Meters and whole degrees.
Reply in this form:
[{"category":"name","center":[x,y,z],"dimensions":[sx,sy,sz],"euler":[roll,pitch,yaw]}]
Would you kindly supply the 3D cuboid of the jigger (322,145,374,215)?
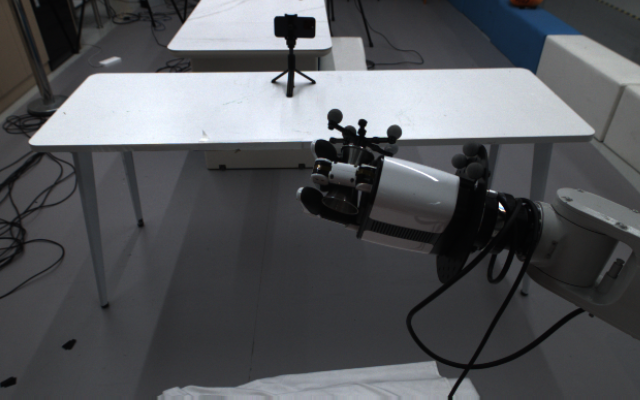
[{"category":"jigger","center":[0.036,-0.023,0.548],"dimensions":[0.043,0.043,0.071],"euler":[12,71,14]}]
